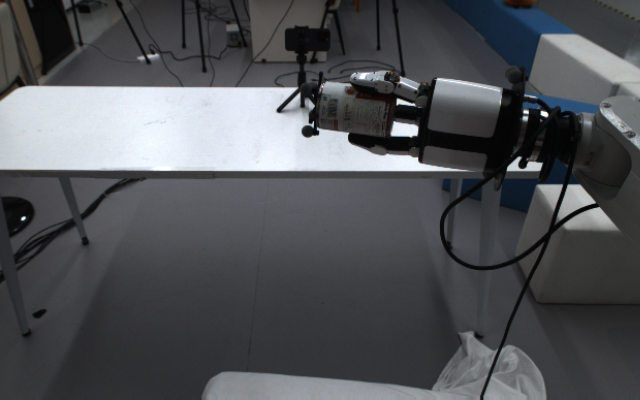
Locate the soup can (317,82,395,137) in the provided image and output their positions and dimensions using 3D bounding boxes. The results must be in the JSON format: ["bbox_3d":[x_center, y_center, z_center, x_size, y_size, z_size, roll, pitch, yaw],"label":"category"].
[{"bbox_3d":[0.052,-0.125,0.665,0.101,0.067,0.067,9,35,9],"label":"soup can"}]
